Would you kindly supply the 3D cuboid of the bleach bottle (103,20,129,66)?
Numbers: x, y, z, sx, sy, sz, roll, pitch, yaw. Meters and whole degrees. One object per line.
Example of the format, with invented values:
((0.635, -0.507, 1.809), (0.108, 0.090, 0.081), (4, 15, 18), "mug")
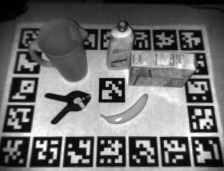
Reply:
((0.010, -0.157, 0.782), (0.102, 0.252, 0.067), (0, 68, 2), "bleach bottle")

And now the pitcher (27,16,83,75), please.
((-0.179, -0.129, 0.750), (0.189, 0.243, 0.132), (-16, 68, -8), "pitcher")

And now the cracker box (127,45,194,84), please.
((0.163, -0.074, 0.781), (0.213, 0.165, 0.072), (2, 66, 3), "cracker box")

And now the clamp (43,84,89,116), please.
((-0.168, 0.040, 0.818), (0.165, 0.037, 0.121), (-14, 68, -7), "clamp")

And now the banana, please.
((0.051, 0.069, 0.816), (0.198, 0.039, 0.074), (-31, 71, -11), "banana")
